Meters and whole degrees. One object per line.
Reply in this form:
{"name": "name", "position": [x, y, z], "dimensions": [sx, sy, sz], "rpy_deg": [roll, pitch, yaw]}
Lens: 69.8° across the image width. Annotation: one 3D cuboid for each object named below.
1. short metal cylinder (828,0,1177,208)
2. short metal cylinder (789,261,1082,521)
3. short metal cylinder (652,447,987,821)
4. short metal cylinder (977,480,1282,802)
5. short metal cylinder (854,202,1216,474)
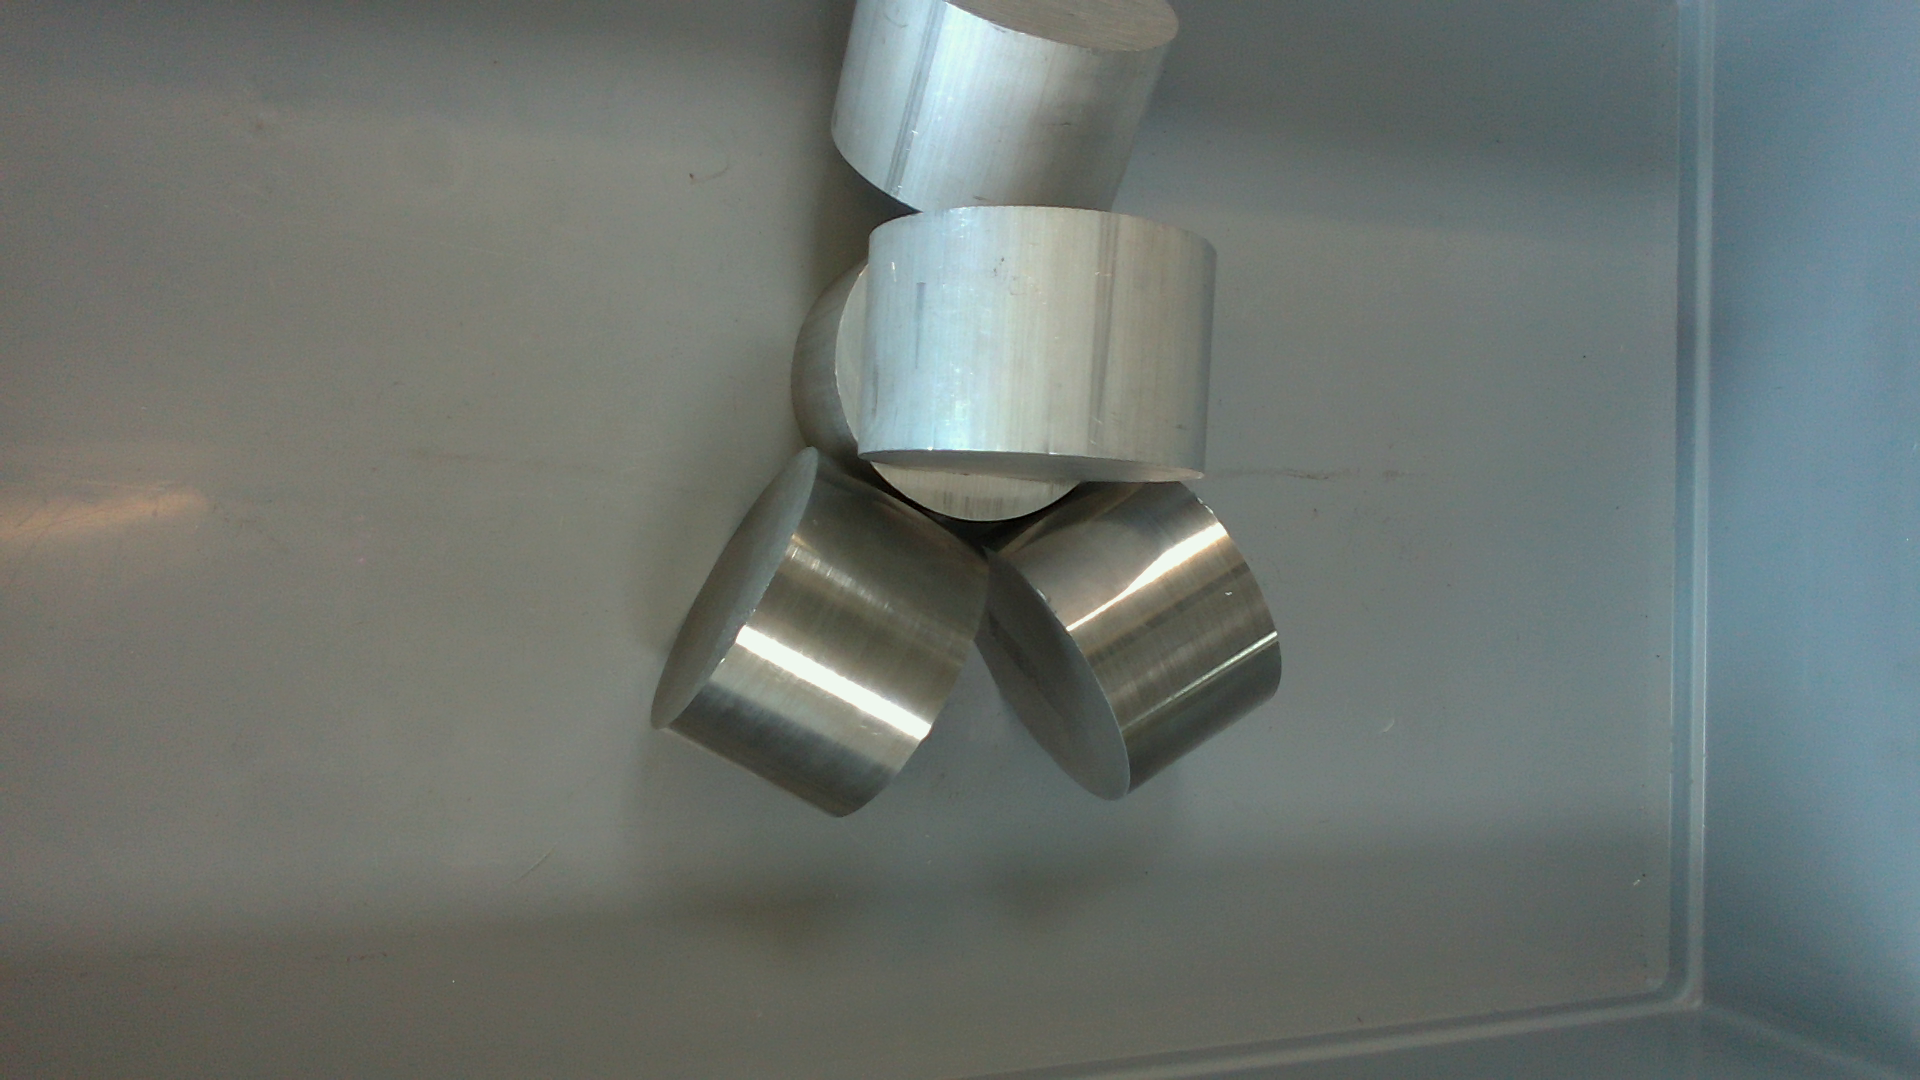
{"name": "short metal cylinder", "position": [0.010, -0.123, 0.360], "dimensions": [0.080, 0.080, 0.050], "rpy_deg": [4, 131, -20]}
{"name": "short metal cylinder", "position": [-0.002, -0.045, 0.377], "dimensions": [0.080, 0.050, 0.080], "rpy_deg": [0, 90, -20]}
{"name": "short metal cylinder", "position": [-0.036, 0.024, 0.349], "dimensions": [0.050, 0.080, 0.080], "rpy_deg": [30, 80, -17]}
{"name": "short metal cylinder", "position": [0.042, 0.024, 0.378], "dimensions": [0.050, 0.080, 0.080], "rpy_deg": [-30, 100, -17]}
{"name": "short metal cylinder", "position": [0.017, -0.042, 0.316], "dimensions": [0.080, 0.080, 0.050], "rpy_deg": [3, 89, -20]}
